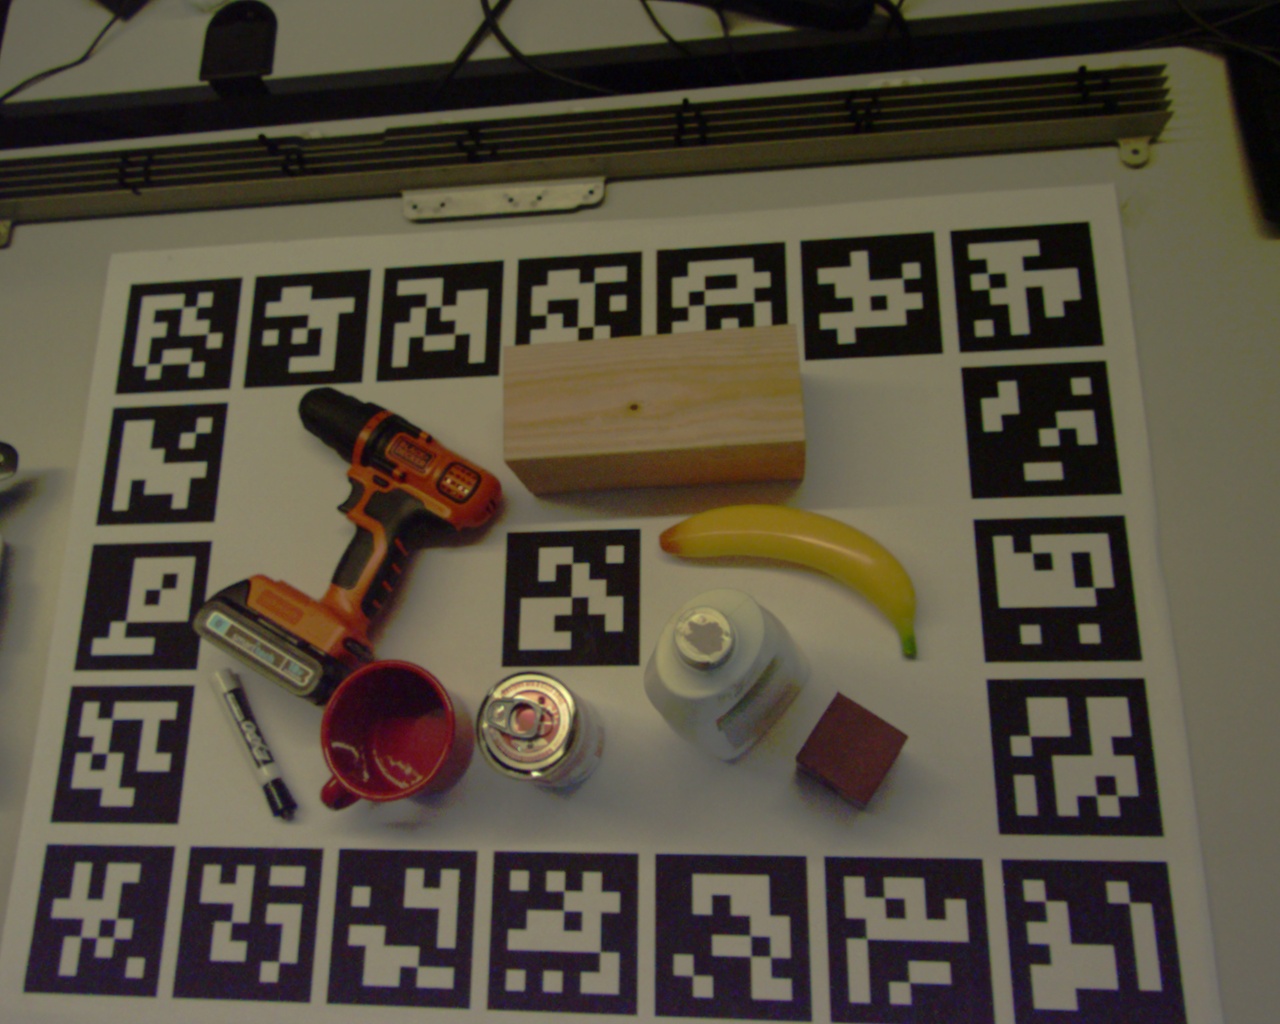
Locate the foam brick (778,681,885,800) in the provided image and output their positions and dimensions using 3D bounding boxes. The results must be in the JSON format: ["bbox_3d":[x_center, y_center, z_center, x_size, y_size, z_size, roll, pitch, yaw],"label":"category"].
[{"bbox_3d":[0.128,0.156,0.774,0.053,0.077,0.051,32,78,18],"label":"foam brick"}]

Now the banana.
[{"bbox_3d":[0.088,0.019,0.838,0.198,0.038,0.074,14,89,10],"label":"banana"}]

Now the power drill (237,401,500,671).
[{"bbox_3d":[-0.226,0.020,0.885,0.186,0.057,0.187,27,78,12],"label":"power drill"}]

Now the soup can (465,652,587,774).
[{"bbox_3d":[-0.076,0.142,0.789,0.068,0.101,0.068,-2,69,5],"label":"soup can"}]

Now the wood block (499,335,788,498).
[{"bbox_3d":[0.005,-0.070,0.856,0.207,0.090,0.090,-3,74,8],"label":"wood block"}]

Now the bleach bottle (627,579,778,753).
[{"bbox_3d":[0.040,0.089,0.716,0.068,0.249,0.102,27,77,15],"label":"bleach bottle"}]

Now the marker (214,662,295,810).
[{"bbox_3d":[-0.293,0.170,0.866,0.019,0.019,0.122,-31,72,0],"label":"marker"}]

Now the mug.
[{"bbox_3d":[-0.182,0.154,0.818,0.094,0.081,0.117,42,86,15],"label":"mug"}]
